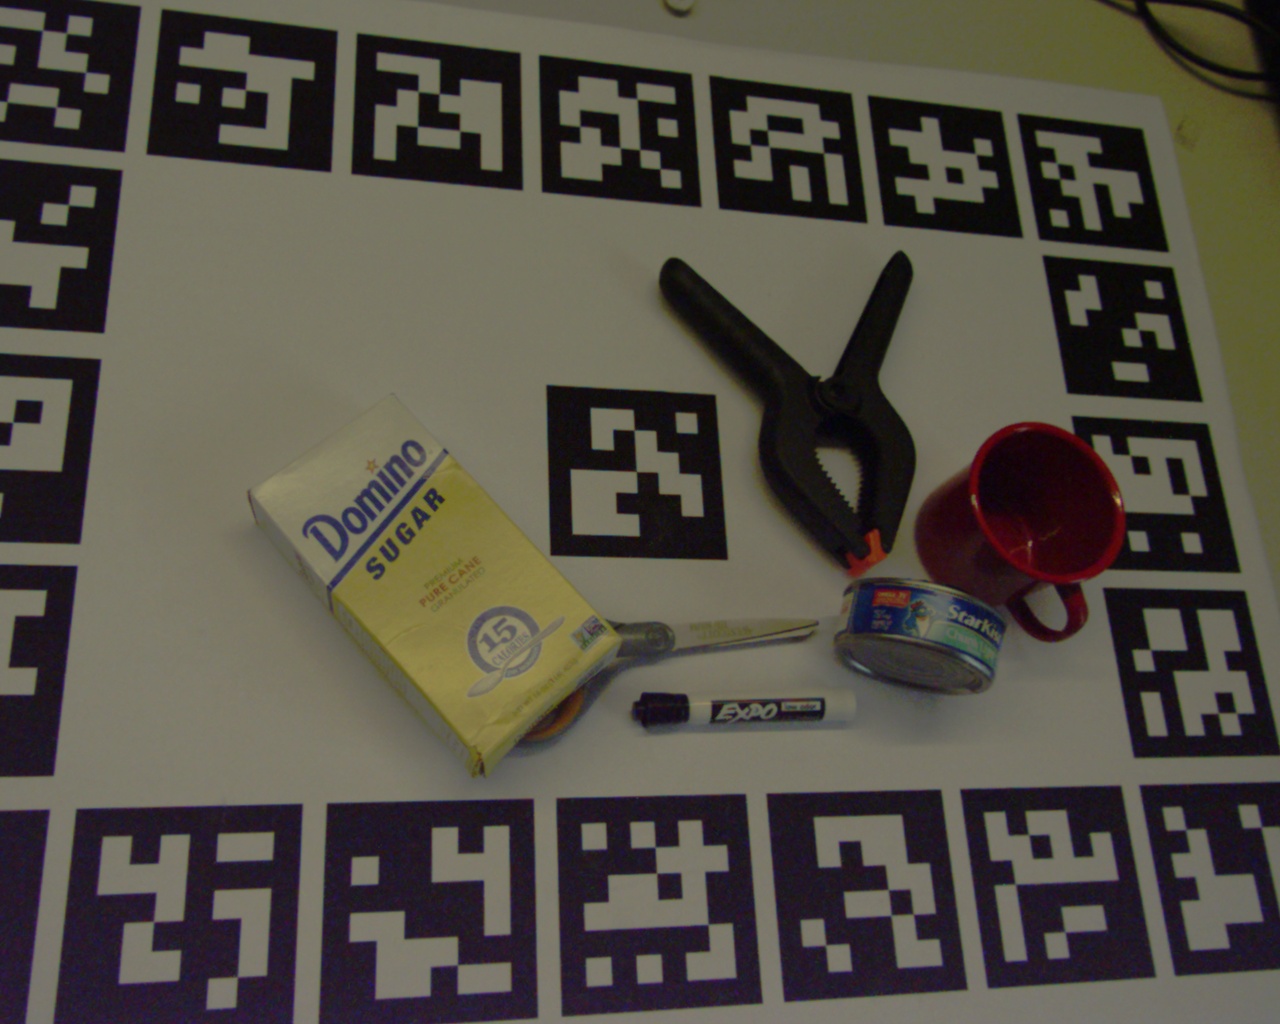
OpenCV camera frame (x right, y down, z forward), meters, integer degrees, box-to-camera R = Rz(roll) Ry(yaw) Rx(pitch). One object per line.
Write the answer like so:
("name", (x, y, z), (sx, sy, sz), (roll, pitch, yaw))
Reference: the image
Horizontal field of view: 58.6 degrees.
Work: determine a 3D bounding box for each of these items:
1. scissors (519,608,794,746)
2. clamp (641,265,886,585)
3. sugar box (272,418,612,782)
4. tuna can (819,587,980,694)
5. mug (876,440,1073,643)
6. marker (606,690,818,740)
("scissors", (-0.005, 0.072, 0.639), (0.201, 0.016, 0.088), (-9, 71, -18))
("clamp", (0.099, -0.055, 0.711), (0.164, 0.037, 0.203), (-9, 76, -17))
("sugar box", (-0.106, 0.044, 0.607), (0.092, 0.045, 0.177), (-37, 78, -22))
("tuna can", (0.145, 0.074, 0.643), (0.085, 0.086, 0.034), (18, 69, -8))
("mug", (0.199, 0.026, 0.677), (0.092, 0.082, 0.118), (-26, 77, -21))
("marker", (0.040, 0.114, 0.639), (0.120, 0.020, 0.020), (-2, 74, -14))
